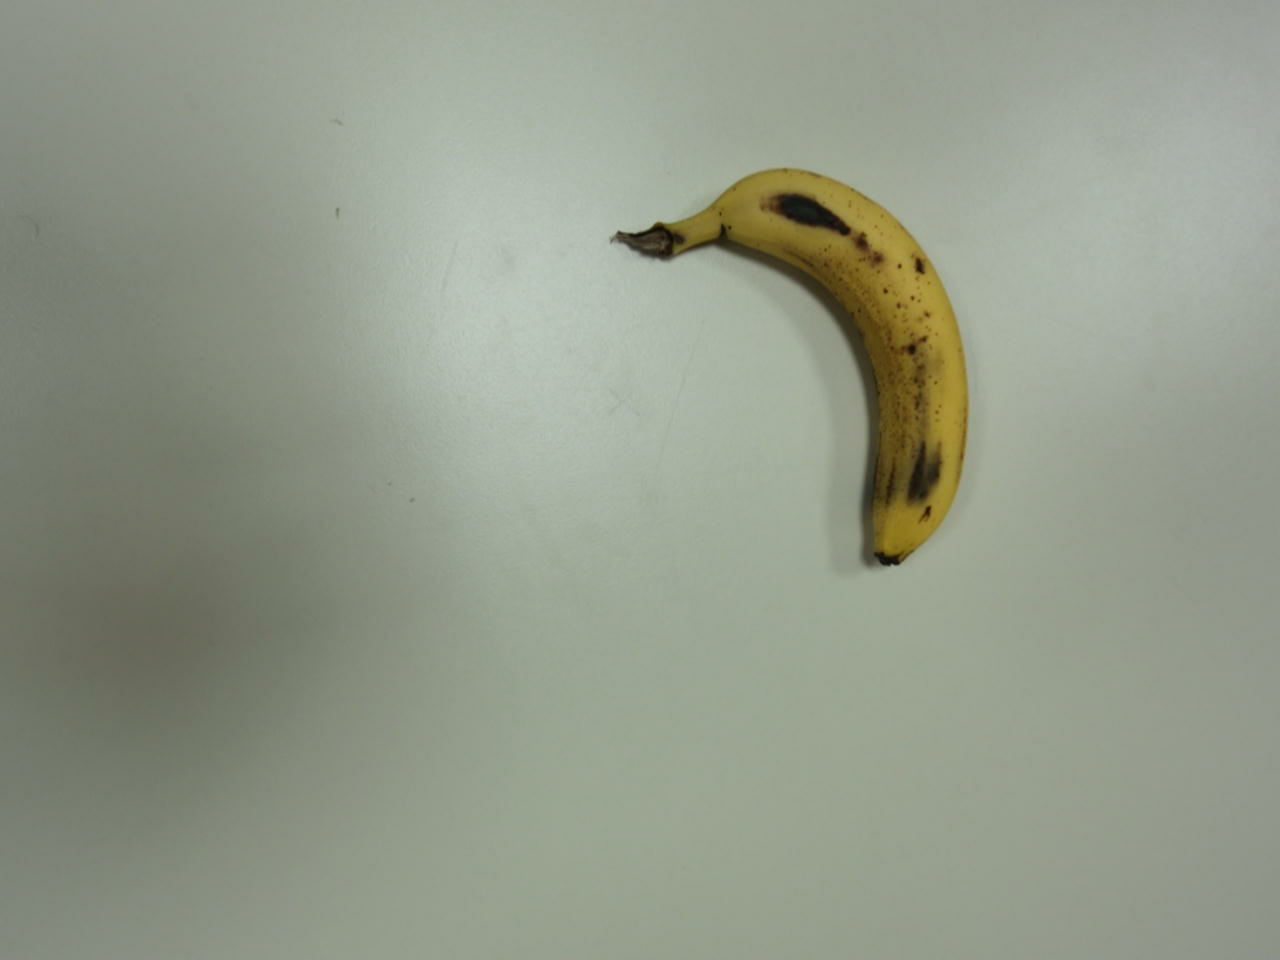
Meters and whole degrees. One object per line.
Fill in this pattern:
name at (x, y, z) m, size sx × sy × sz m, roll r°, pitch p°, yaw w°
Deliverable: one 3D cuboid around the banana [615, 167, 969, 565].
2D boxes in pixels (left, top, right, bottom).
banana at (0.091, -0.061, 0.438) m, size 0.097 × 0.038 × 0.186 m, roll -39°, pitch 97°, yaw -9°
